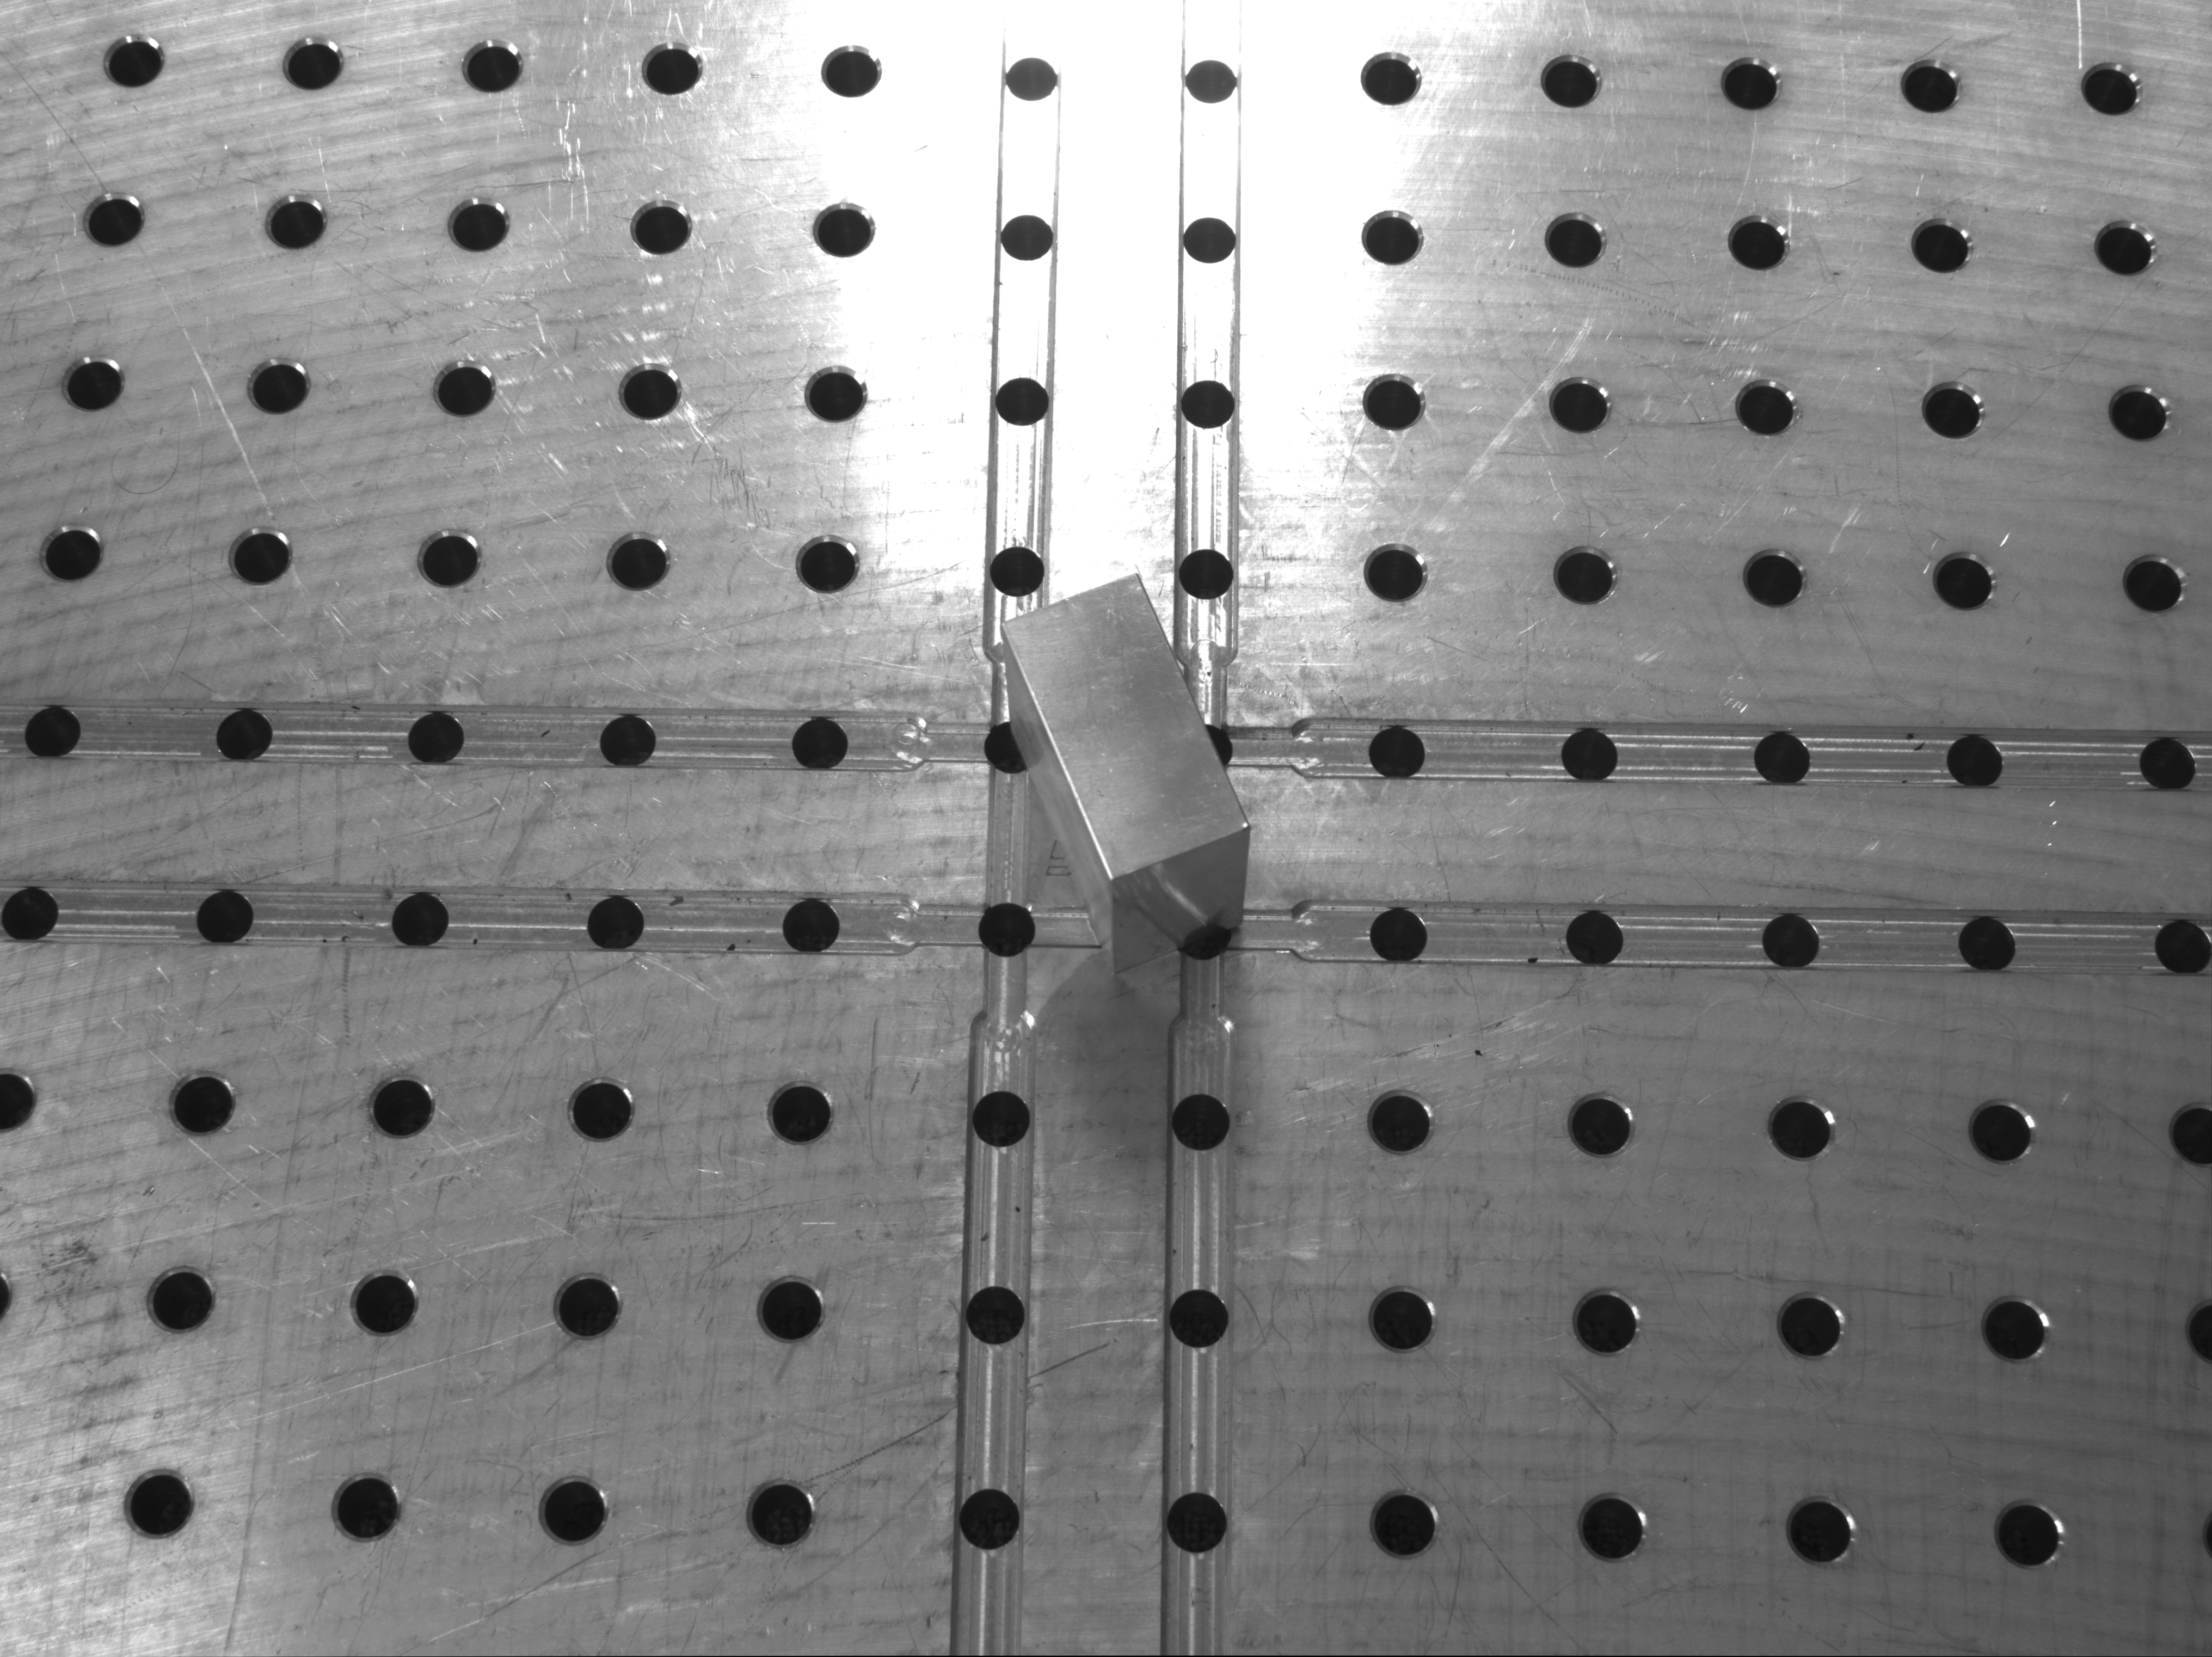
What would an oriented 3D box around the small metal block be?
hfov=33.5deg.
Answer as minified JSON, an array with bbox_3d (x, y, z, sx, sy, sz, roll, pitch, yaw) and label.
[{"bbox_3d":[0.003,-0.009,0.638,0.025,0.050,0.050,-21,71,-7],"label":"small metal block"}]
